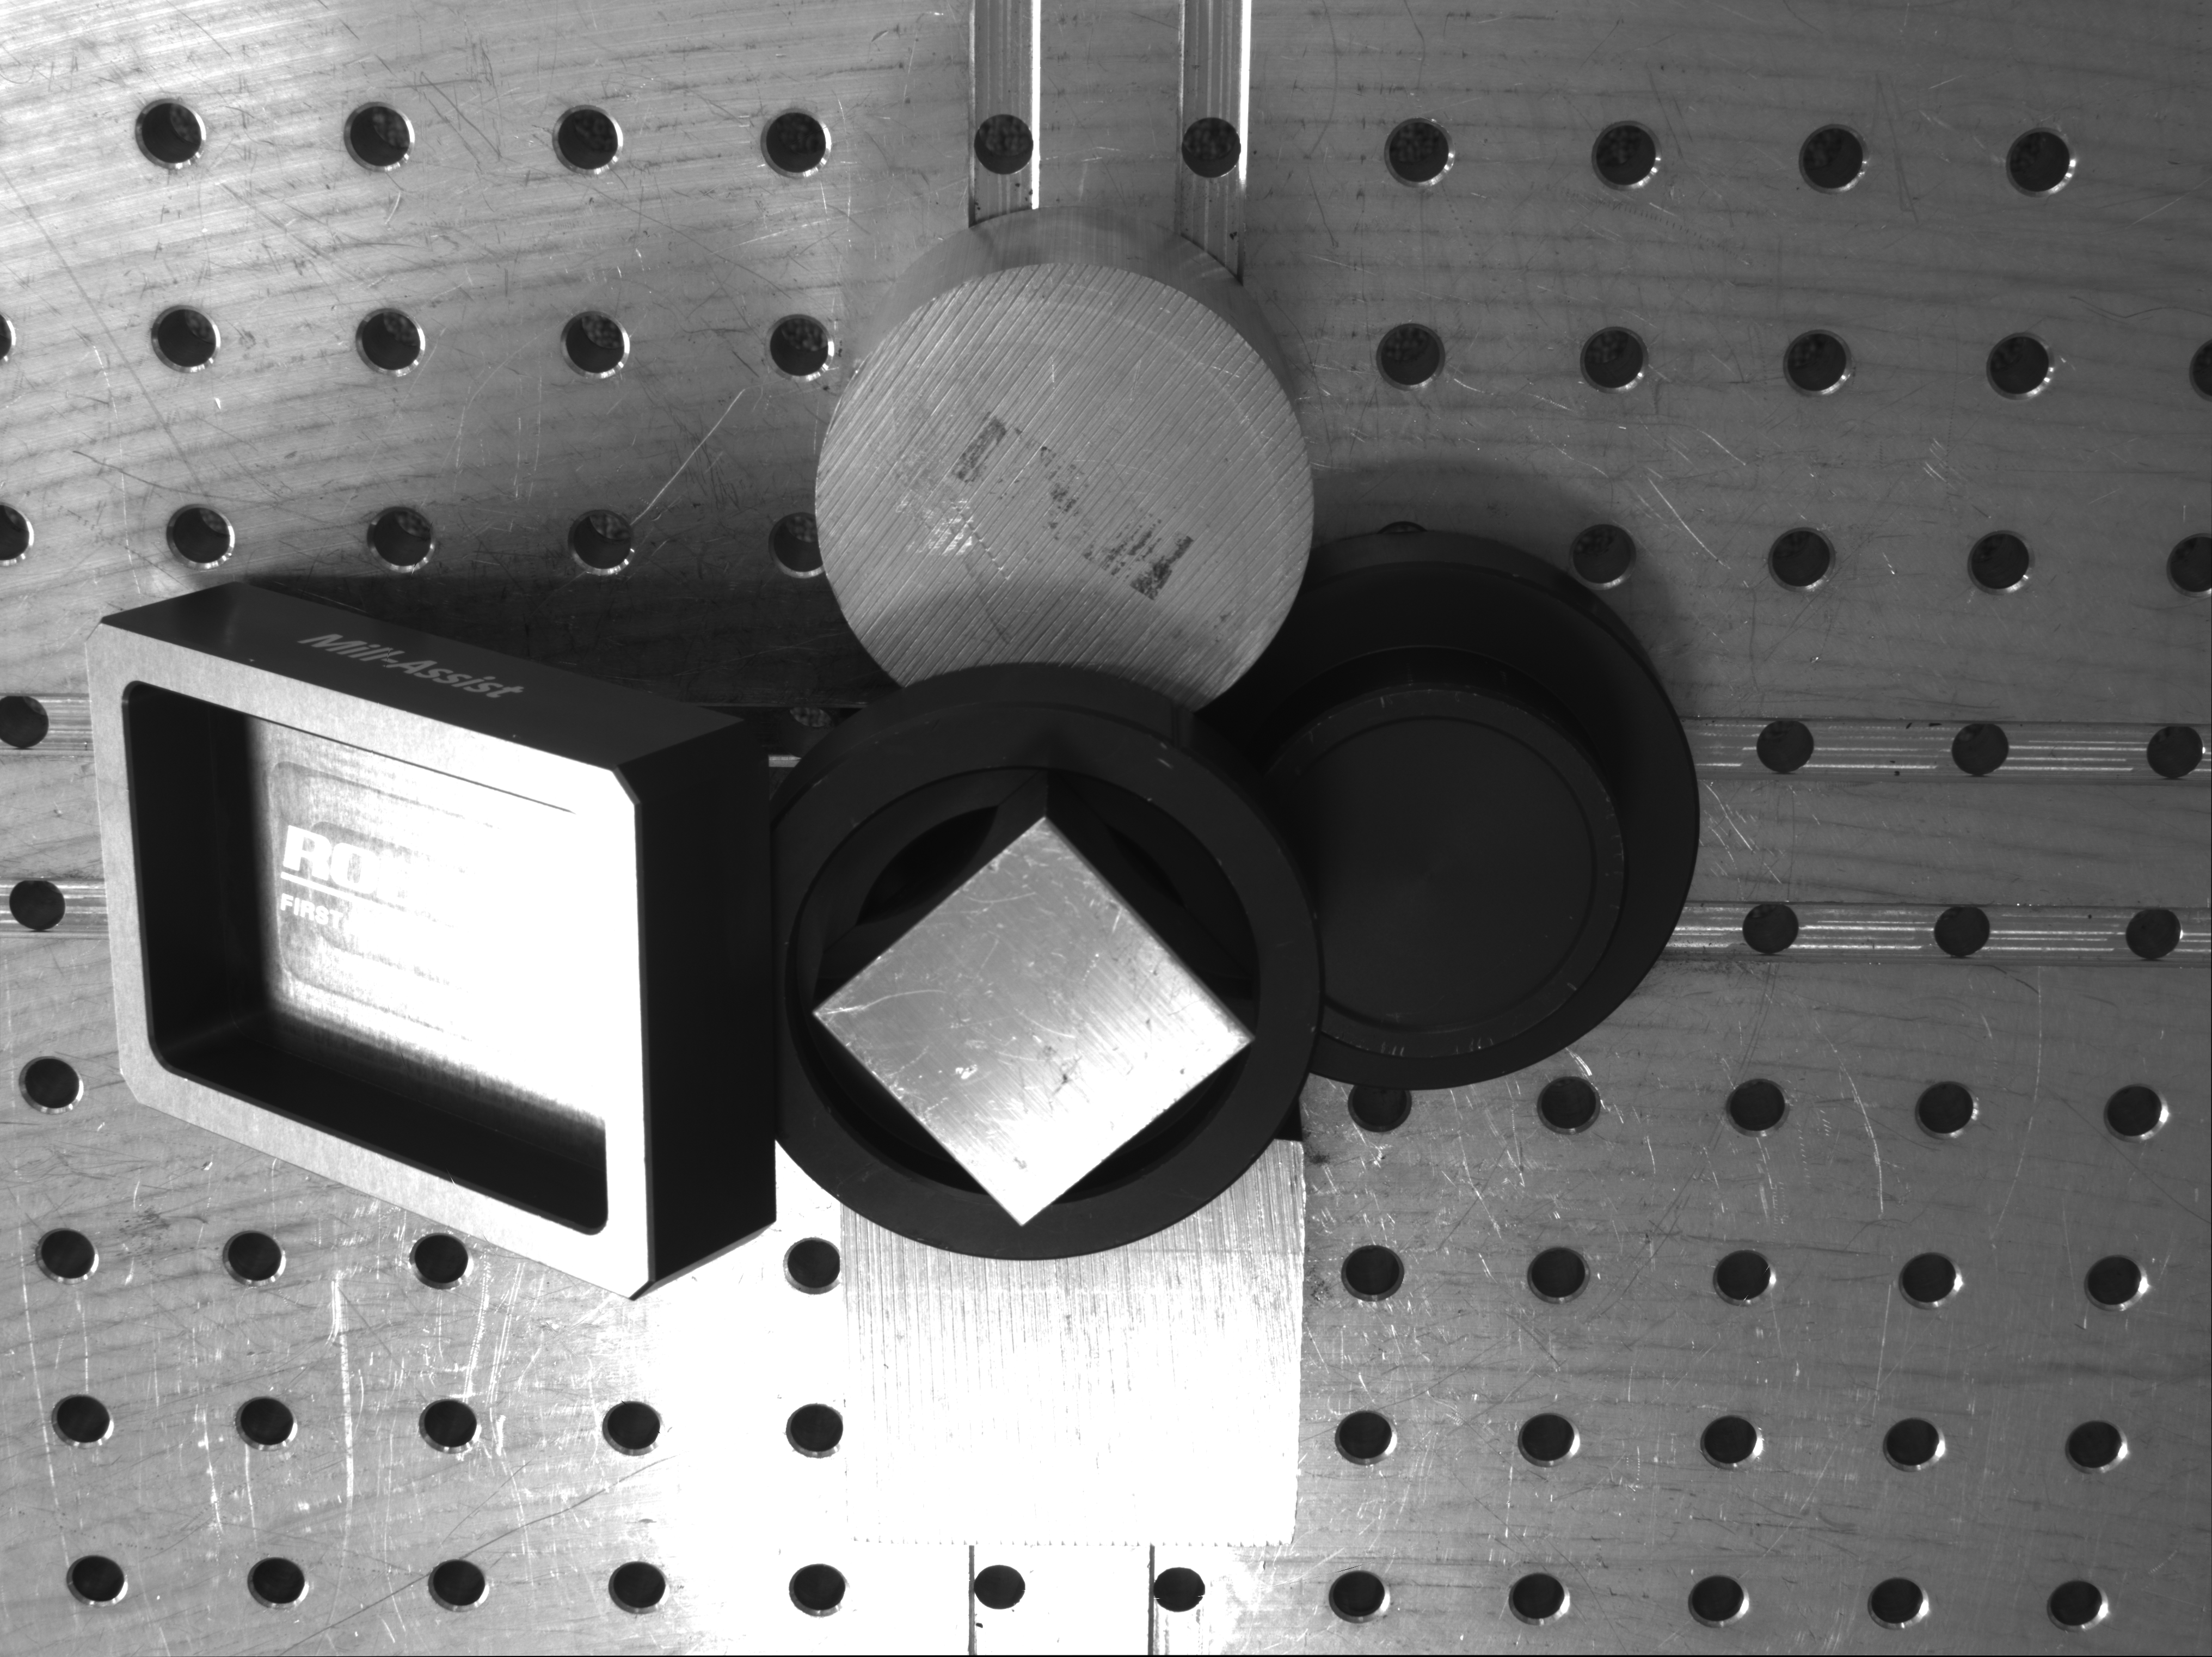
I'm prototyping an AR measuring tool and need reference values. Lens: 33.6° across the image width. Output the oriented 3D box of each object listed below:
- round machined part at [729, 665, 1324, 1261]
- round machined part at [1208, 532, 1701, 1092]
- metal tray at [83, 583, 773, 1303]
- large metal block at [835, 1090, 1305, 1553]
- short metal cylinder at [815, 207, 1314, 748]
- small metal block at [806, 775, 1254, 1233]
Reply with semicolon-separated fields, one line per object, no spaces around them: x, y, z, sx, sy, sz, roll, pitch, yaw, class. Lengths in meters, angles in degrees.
-0.013;0.019;0.613;0.098;0.042;0.098;0;110;0;round machined part
0.054;0.001;0.636;0.098;0.042;0.098;0;110;0;round machined part
-0.114;0.016;0.611;0.130;0.030;0.090;15;114;34;metal tray
-0.006;0.082;0.659;0.080;0.050;0.080;1;110;0;large metal block
-0.006;-0.059;0.611;0.080;0.050;0.080;0;110;0;short metal cylinder
-0.012;0.028;0.590;0.050;0.025;0.050;-40;105;13;small metal block
